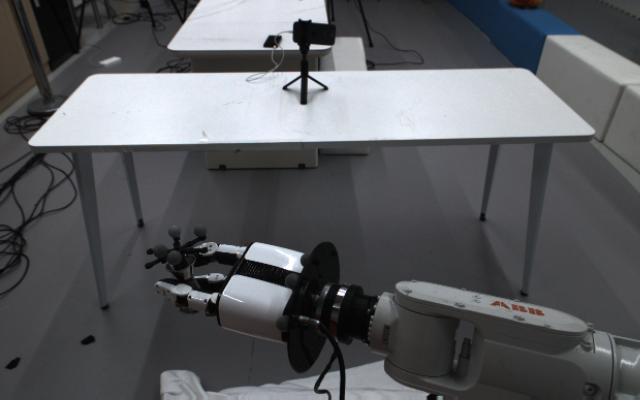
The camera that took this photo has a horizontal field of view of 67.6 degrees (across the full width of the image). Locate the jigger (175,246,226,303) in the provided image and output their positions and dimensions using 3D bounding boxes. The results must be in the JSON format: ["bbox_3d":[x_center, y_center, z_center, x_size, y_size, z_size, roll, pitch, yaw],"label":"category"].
[{"bbox_3d":[-0.173,0.110,0.649,0.043,0.071,0.043,-10,24,4],"label":"jigger"}]
